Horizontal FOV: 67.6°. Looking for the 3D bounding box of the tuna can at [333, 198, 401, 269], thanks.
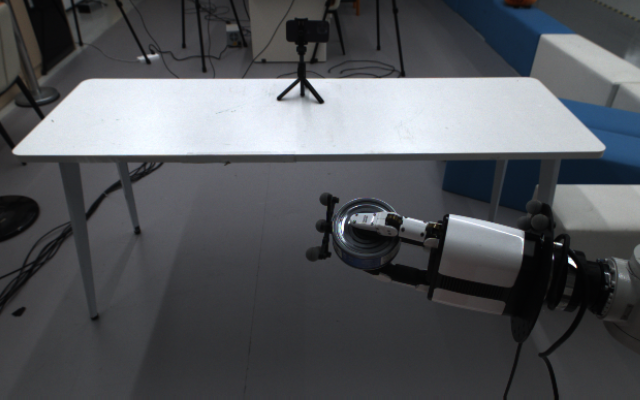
[{"bbox_3d":[0.060,0.043,0.588,0.085,0.034,0.085,-2,57,3],"label":"tuna can"}]
